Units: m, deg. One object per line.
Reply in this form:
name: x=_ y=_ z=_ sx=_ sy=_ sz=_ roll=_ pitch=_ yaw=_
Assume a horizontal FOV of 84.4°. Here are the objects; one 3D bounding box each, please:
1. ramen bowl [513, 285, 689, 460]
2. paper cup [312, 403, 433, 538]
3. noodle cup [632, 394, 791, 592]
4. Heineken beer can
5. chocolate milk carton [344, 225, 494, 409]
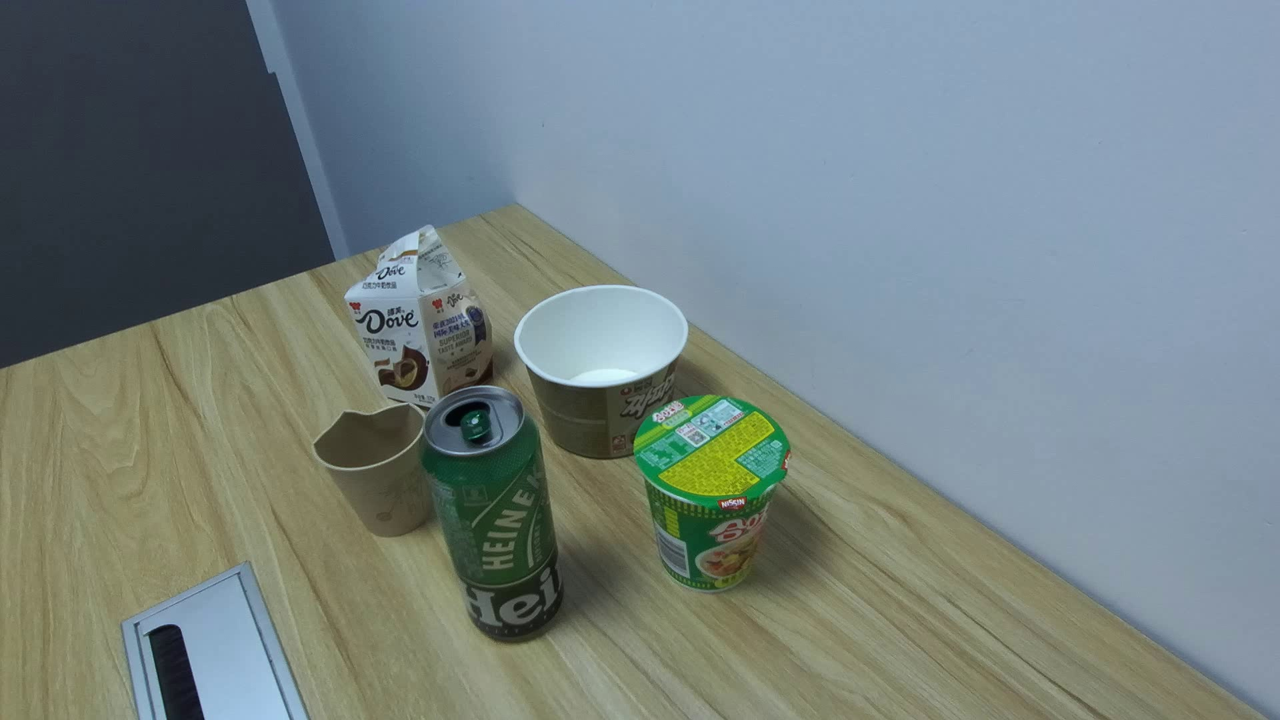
ramen bowl: x=-0.029 y=0.013 z=0.602 sx=0.140 sy=0.095 sz=0.140 roll=0 pitch=39 yaw=0
paper cup: x=-0.187 y=0.085 z=0.527 sx=0.068 sy=0.081 sz=0.073 roll=14 pitch=42 yaw=19
noodle cup: x=0.047 y=0.098 z=0.478 sx=0.097 sy=0.110 sz=0.097 roll=0 pitch=39 yaw=1
Heineken beer can: x=-0.086 y=0.099 z=0.434 sx=0.067 sy=0.169 sz=0.067 roll=-2 pitch=37 yaw=1
chocolate milk carton: x=-0.197 y=-0.037 z=0.634 sx=0.089 sy=0.156 sz=0.077 roll=3 pitch=33 yaw=29
